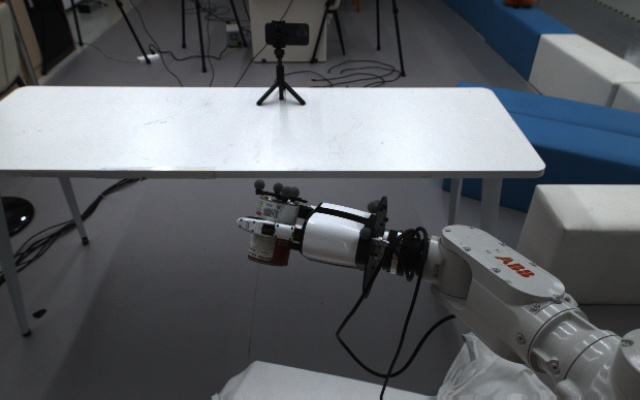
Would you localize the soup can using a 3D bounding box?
[{"bbox_3d":[-0.073,0.049,0.772,0.067,0.101,0.067,12,2,0],"label":"soup can"}]
